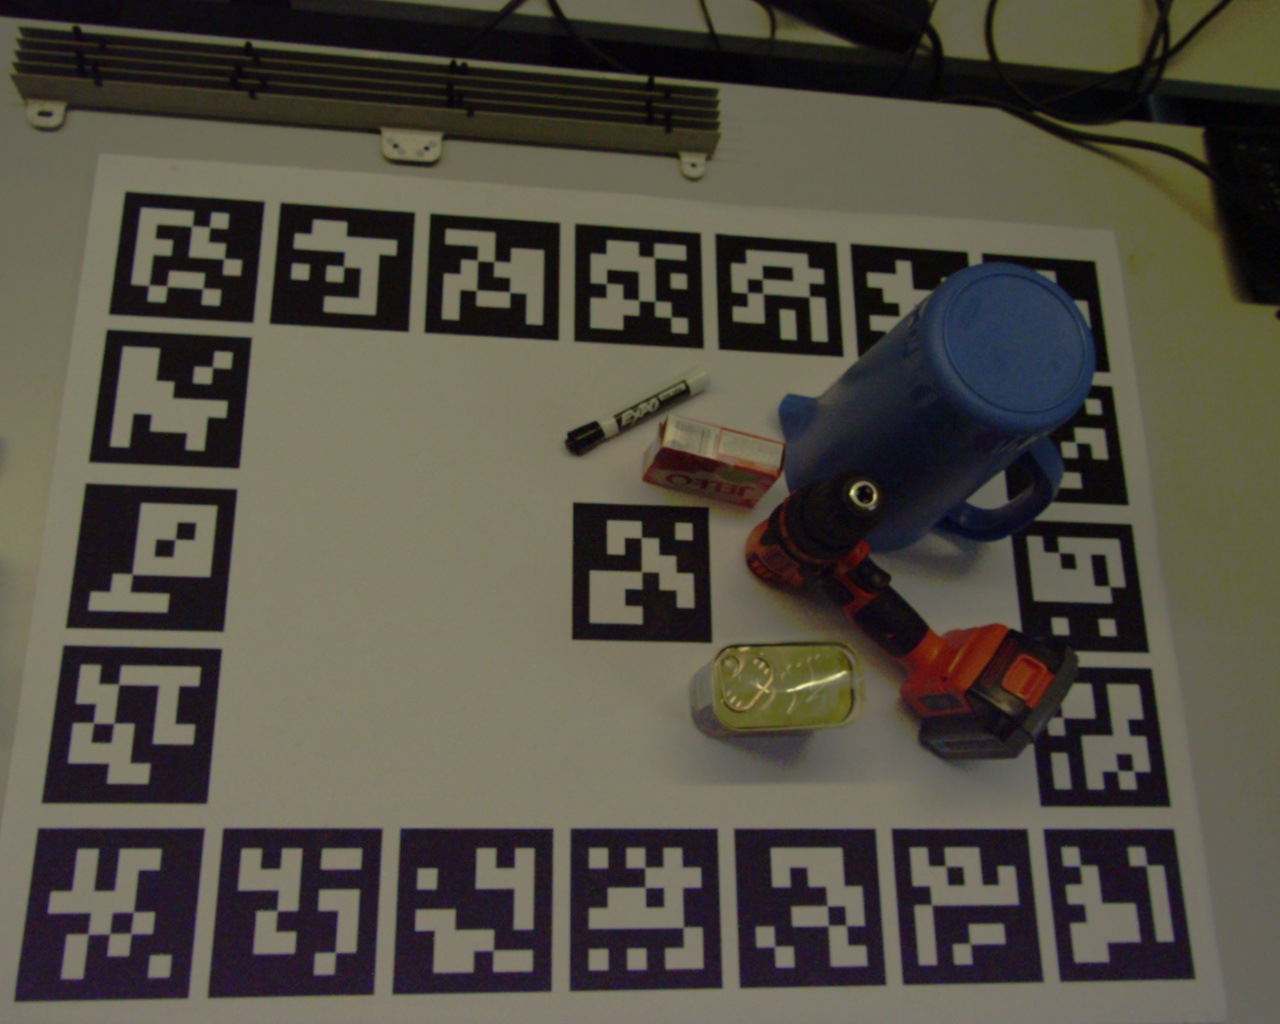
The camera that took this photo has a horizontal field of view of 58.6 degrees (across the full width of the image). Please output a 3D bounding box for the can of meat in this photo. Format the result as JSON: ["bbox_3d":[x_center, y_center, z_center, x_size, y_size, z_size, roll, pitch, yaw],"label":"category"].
[{"bbox_3d":[0.086,0.133,0.804,0.101,0.084,0.058,1,73,-9],"label":"can of meat"}]

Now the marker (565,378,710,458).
[{"bbox_3d":[-0.003,-0.072,0.880,0.120,0.020,0.020,-25,81,-13],"label":"marker"}]

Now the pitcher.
[{"bbox_3d":[0.211,-0.043,0.798,0.189,0.242,0.133,32,76,7],"label":"pitcher"}]

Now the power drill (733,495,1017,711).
[{"bbox_3d":[0.160,0.061,0.786,0.186,0.185,0.057,37,75,-4],"label":"power drill"}]

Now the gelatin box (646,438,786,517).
[{"bbox_3d":[0.055,-0.024,0.851,0.089,0.073,0.030,13,78,-7],"label":"gelatin box"}]
